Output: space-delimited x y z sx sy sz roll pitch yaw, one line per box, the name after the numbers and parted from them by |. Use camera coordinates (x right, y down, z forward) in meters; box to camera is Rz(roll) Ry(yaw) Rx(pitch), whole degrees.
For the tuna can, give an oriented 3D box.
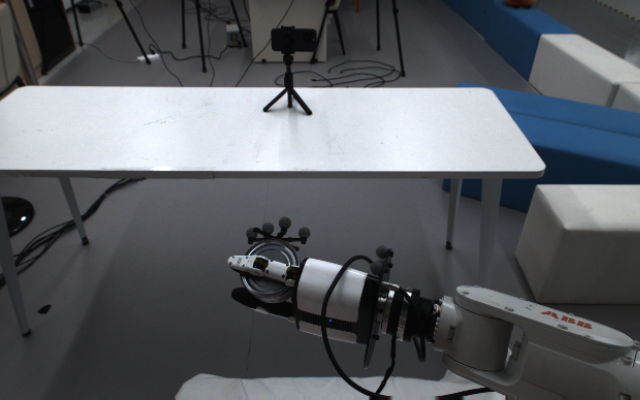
-0.066 0.100 0.677 0.085 0.034 0.085 -6 61 10 | tuna can
